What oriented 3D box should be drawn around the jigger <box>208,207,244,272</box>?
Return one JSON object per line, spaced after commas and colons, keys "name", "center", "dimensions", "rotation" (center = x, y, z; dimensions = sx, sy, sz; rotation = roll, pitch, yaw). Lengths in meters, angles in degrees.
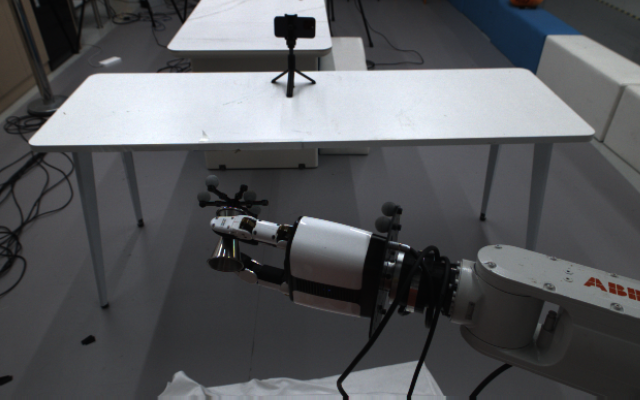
{"name": "jigger", "center": [-0.110, 0.045, 0.586], "dimensions": [0.043, 0.043, 0.071], "rotation": [2, 59, 0]}
